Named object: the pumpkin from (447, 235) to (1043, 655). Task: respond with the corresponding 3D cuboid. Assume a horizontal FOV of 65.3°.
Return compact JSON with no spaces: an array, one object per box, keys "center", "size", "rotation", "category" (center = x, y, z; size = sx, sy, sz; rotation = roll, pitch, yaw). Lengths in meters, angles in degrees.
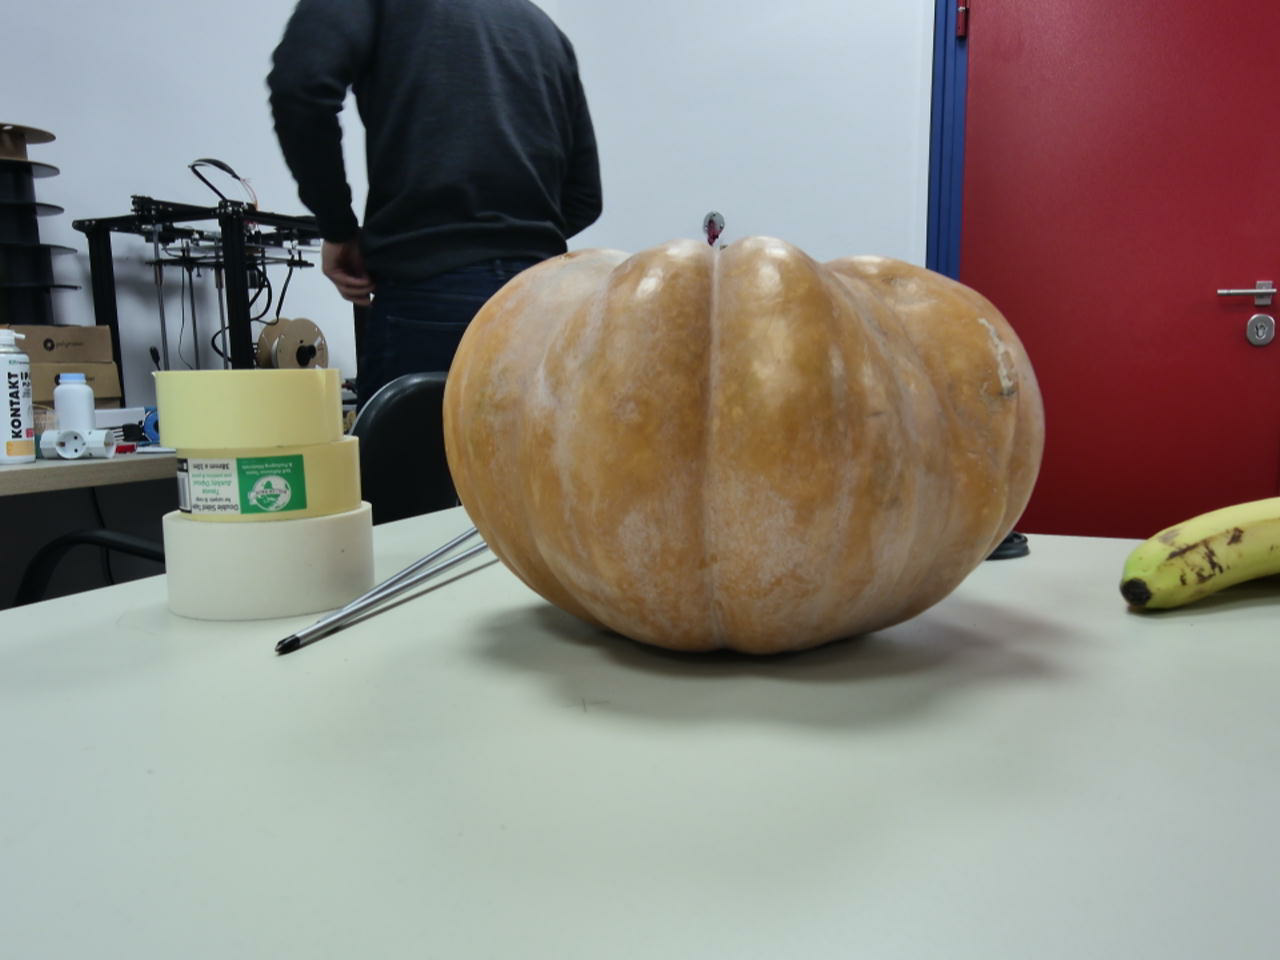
[{"center":[0.041,-0.020,0.469],"size":[0.277,0.181,0.277],"rotation":[0,4,0],"category":"pumpkin"}]
